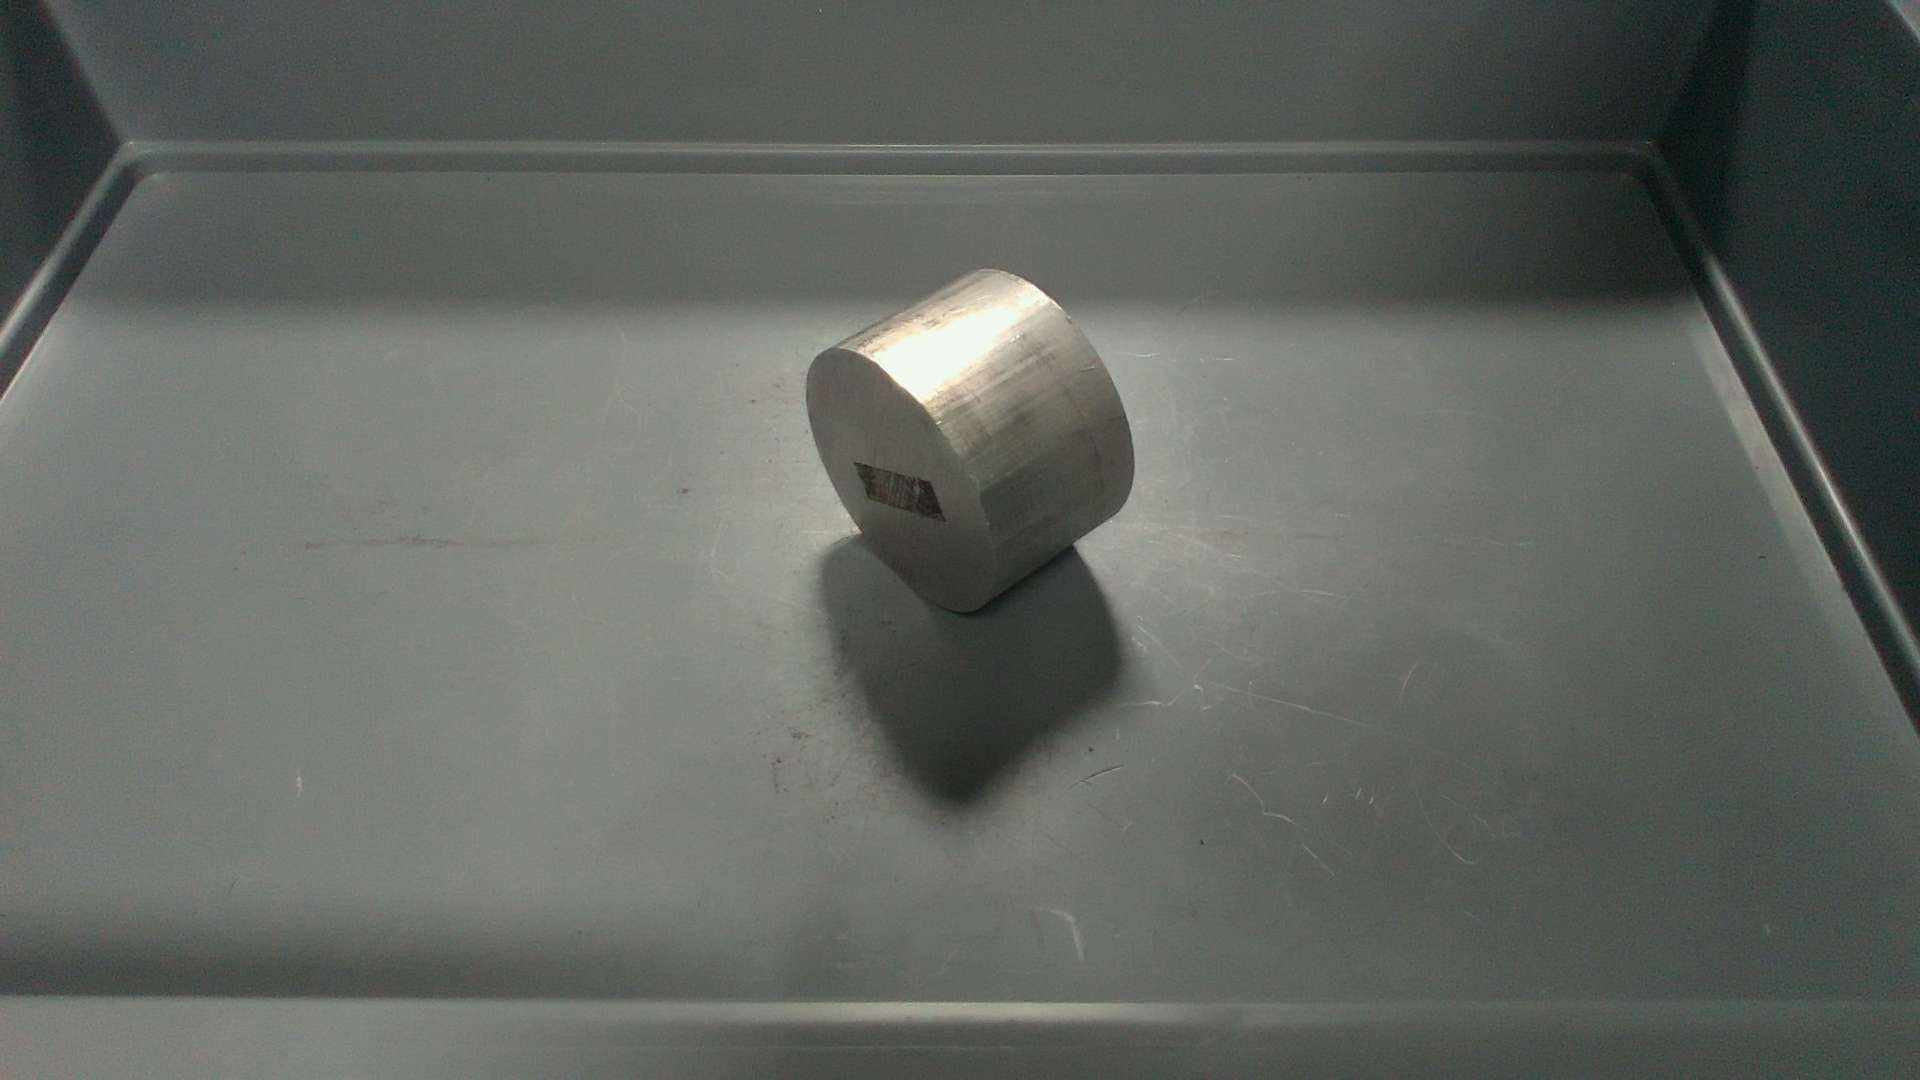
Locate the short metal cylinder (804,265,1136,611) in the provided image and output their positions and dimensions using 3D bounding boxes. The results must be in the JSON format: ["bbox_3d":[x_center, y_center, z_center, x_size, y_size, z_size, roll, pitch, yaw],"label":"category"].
[{"bbox_3d":[0.002,-0.028,0.376,0.050,0.080,0.080,-34,58,-25],"label":"short metal cylinder"}]
